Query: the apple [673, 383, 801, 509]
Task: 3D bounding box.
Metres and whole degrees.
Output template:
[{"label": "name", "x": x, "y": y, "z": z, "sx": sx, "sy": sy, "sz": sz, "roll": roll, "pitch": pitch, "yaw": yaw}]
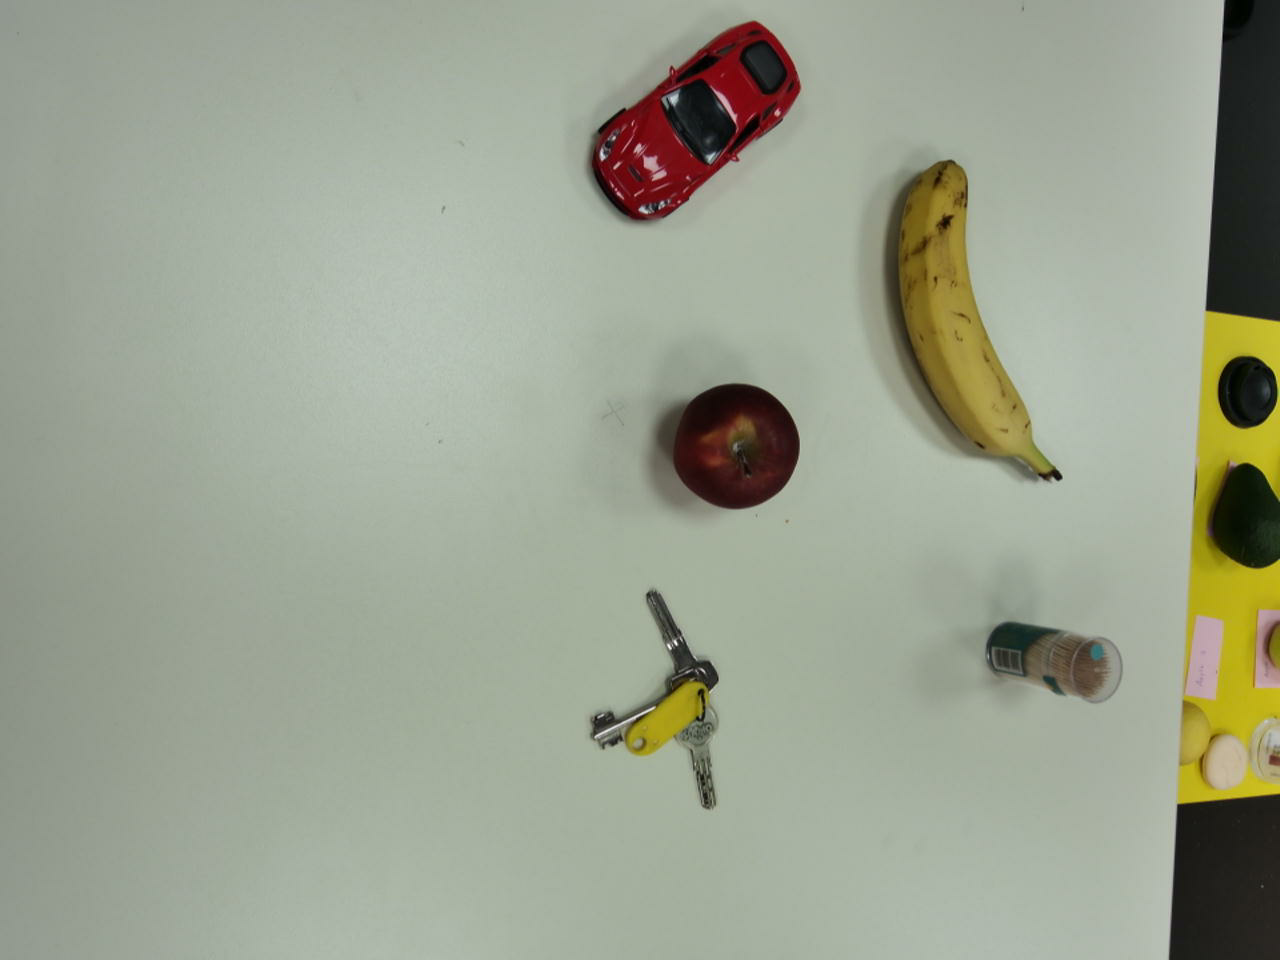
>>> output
[{"label": "apple", "x": 0.052, "y": -0.018, "z": 0.552, "sx": 0.070, "sy": 0.072, "sz": 0.070, "roll": 0, "pitch": 90, "yaw": -22}]
